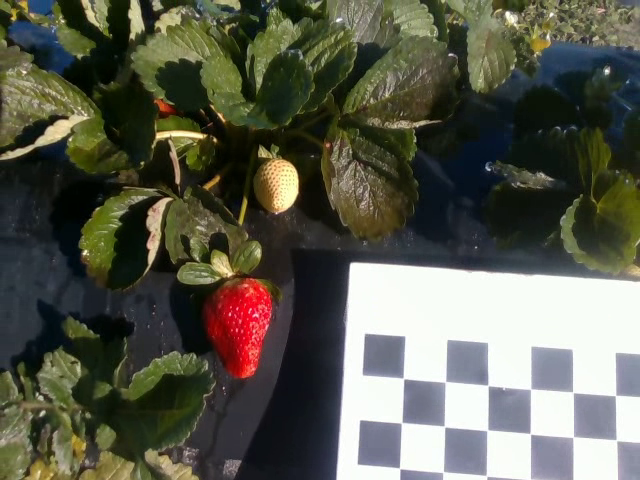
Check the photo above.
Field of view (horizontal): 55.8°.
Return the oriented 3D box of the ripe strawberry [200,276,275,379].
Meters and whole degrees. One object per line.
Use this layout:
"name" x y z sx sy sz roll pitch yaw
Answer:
"ripe strawberry" -0.047 0.052 0.354 0.048 0.068 0.040 -14 -19 -2
